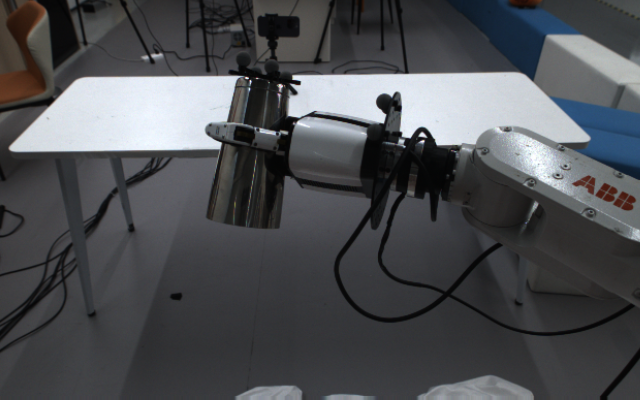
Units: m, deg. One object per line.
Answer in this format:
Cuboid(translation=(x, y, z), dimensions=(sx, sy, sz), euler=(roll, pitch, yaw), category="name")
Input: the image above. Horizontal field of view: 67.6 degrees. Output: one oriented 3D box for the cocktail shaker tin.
Cuboid(translation=(-0.080, -0.056, 0.591), dimensions=(0.093, 0.170, 0.093), euler=(9, 3, 0), category="cocktail shaker tin")
